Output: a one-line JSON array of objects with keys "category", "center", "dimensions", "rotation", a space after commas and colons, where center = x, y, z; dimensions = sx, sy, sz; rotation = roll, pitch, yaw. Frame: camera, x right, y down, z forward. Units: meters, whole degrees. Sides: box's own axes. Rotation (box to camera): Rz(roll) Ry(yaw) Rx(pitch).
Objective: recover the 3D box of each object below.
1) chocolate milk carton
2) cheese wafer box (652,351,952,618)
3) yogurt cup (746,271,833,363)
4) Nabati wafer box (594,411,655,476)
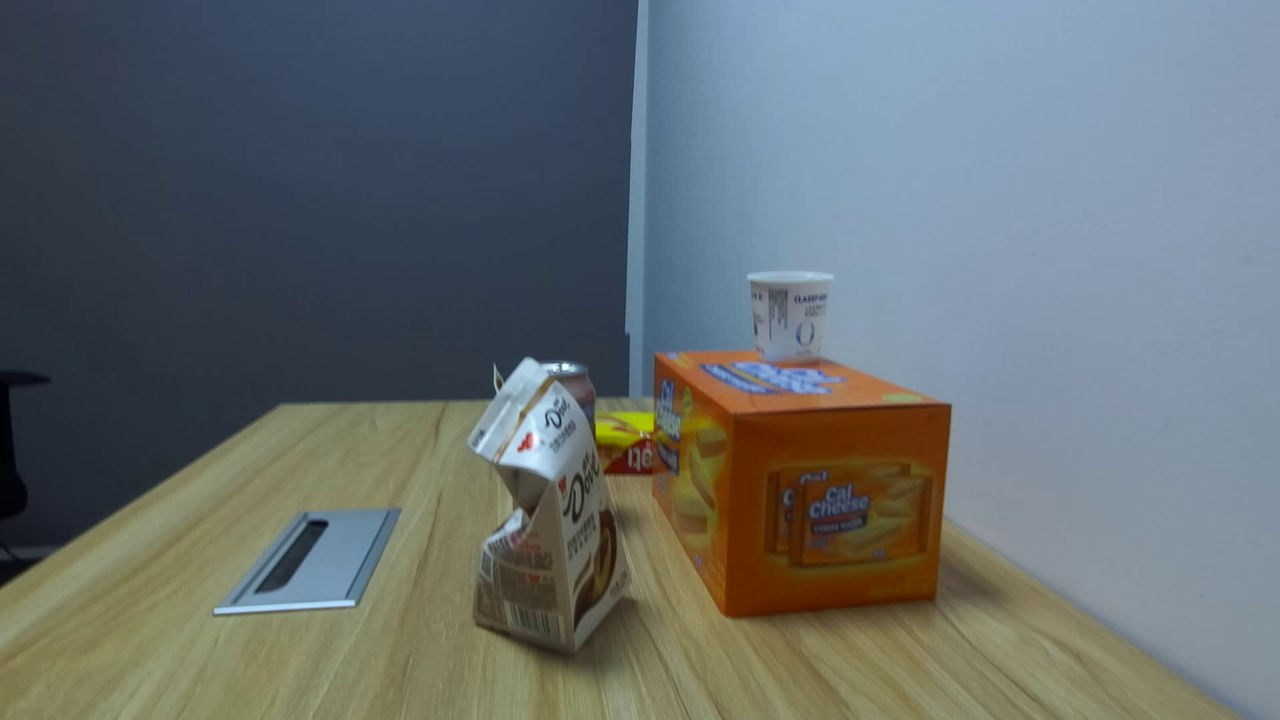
[{"category": "chocolate milk carton", "center": [-0.059, 0.084, 0.413], "dimensions": [0.076, 0.155, 0.089], "rotation": [1, 23, 24]}, {"category": "cheese wafer box", "center": [0.106, 0.074, 0.533], "dimensions": [0.148, 0.129, 0.221], "rotation": [-2, 10, -10]}, {"category": "yogurt cup", "center": [0.123, -0.035, 0.585], "dimensions": [0.072, 0.068, 0.072], "rotation": [-1, 13, 0]}, {"category": "Nabati wafer box", "center": [-0.027, 0.083, 0.722], "dimensions": [0.203, 0.042, 0.096], "rotation": [-1, 9, -3]}]
